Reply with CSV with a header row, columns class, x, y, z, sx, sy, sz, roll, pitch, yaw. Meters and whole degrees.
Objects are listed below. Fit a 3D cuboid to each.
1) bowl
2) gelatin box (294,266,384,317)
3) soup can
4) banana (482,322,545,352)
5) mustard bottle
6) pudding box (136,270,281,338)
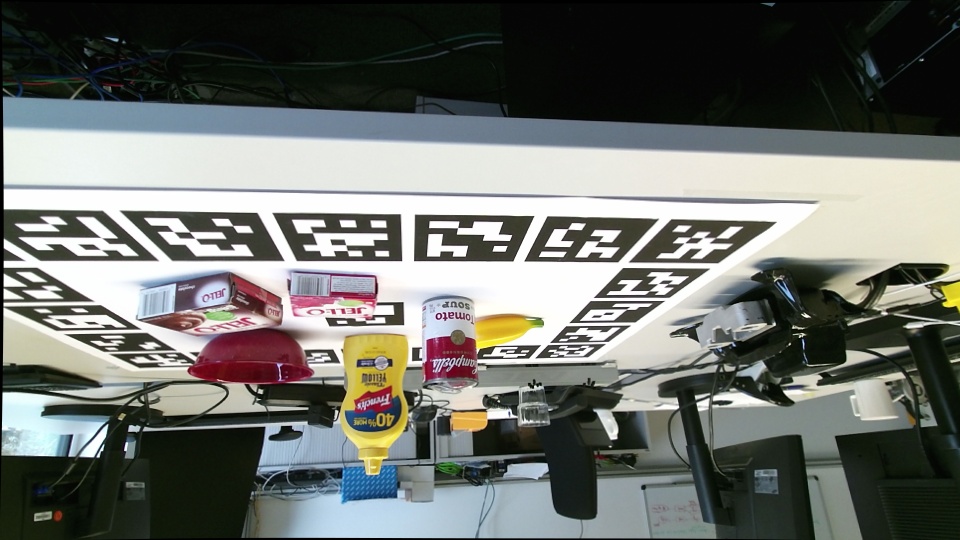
class,x,y,z,sx,sy,sz,roll,pitch,yaw
bowl,-0.324,0.119,0.752,0.162,0.055,0.162,-4,158,-2
gelatin box,-0.152,0.026,0.579,0.090,0.030,0.073,2,153,-15
soup can,-0.029,0.098,0.655,0.068,0.101,0.068,-1,159,0
banana,-0.006,0.105,0.779,0.198,0.038,0.074,-20,162,35
mustard bottle,-0.152,0.201,0.761,0.096,0.190,0.058,0,160,-8
pudding box,-0.291,0.041,0.583,0.114,0.038,0.090,-9,151,14
